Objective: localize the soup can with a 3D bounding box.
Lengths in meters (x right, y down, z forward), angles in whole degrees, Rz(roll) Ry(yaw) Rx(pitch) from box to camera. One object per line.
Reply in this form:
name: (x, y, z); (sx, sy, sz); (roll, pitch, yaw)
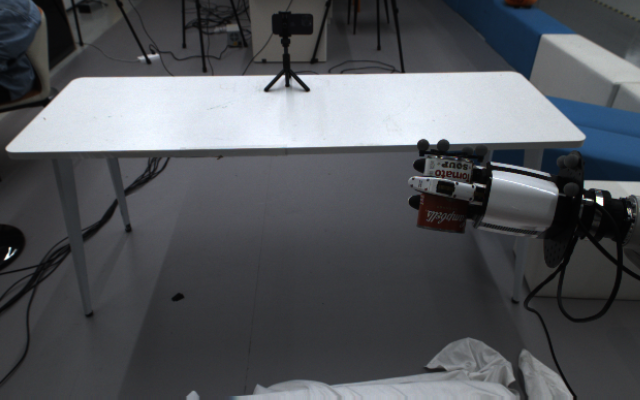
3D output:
soup can: (0.178, -0.009, 0.681); (0.067, 0.101, 0.067); (7, 3, 0)
